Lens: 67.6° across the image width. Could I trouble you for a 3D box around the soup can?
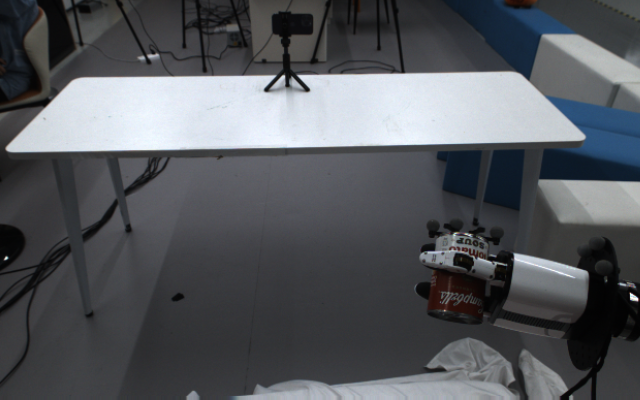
[{"bbox_3d":[0.176,0.098,0.607,0.067,0.067,0.101,9,70,10],"label":"soup can"}]
